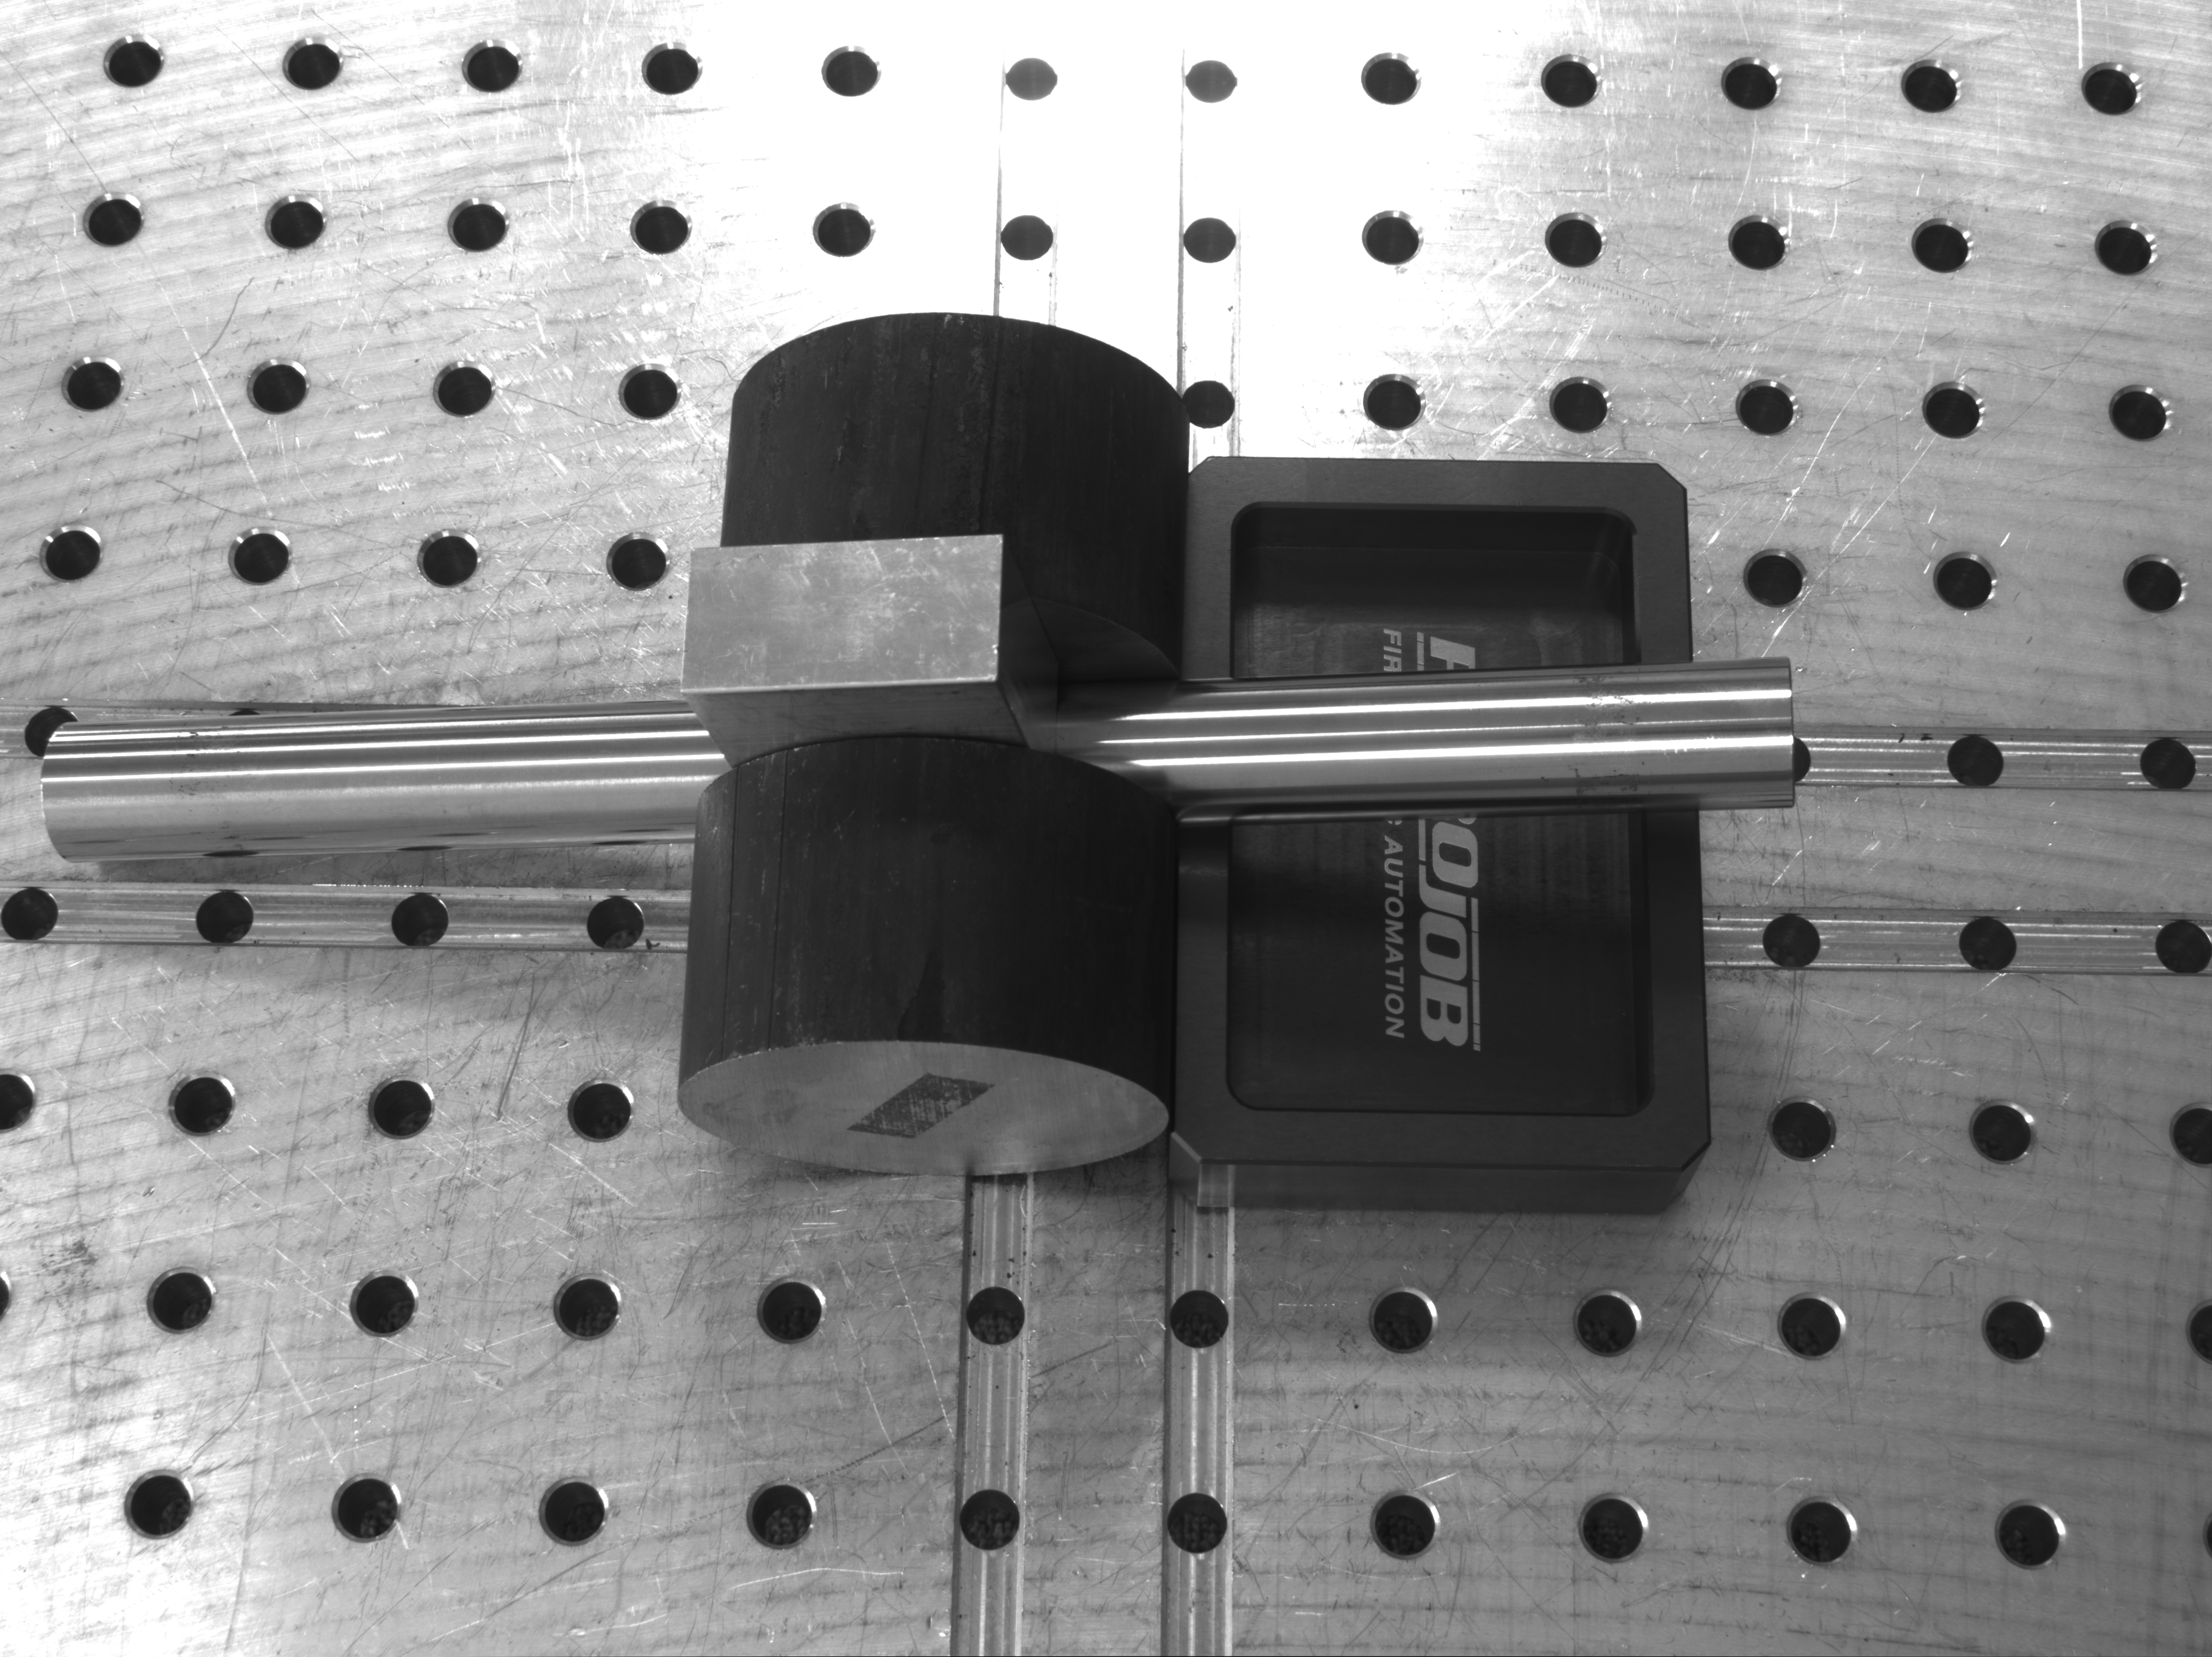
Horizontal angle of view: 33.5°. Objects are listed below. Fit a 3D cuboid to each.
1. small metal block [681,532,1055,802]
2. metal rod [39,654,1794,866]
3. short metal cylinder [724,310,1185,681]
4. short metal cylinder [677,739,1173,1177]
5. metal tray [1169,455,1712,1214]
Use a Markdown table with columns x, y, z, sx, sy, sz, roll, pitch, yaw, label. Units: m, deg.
| x | y | z | sx | sy | sz | roll | pitch | yaw | label |
| --- | --- | --- | --- | --- | --- | --- | --- | --- | --- |
| -0.037 | -0.025 | 0.593 | 0.050 | 0.050 | 0.025 | -2 | 70 | 8 | small metal block |
| -0.035 | -0.011 | 0.627 | 0.300 | 0.025 | 0.025 | -2 | 70 | 9 | metal rod |
| -0.026 | -0.048 | 0.635 | 0.080 | 0.080 | 0.050 | 1 | 70 | 0 | short metal cylinder |
| -0.029 | 0.023 | 0.610 | 0.080 | 0.080 | 0.050 | 1 | 70 | 1 | short metal cylinder |
| 0.057 | 0.000 | 0.645 | 0.090 | 0.030 | 0.130 | 1 | 70 | 0 | metal tray |
